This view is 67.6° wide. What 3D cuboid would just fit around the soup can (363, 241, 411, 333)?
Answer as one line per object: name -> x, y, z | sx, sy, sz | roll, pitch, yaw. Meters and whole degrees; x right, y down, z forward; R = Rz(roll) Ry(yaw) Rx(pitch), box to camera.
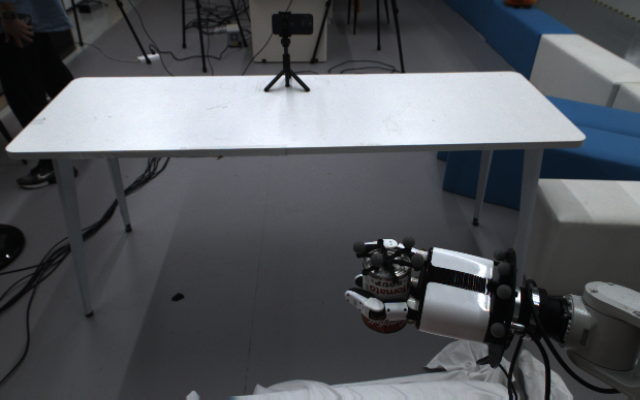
soup can -> 0.094, 0.126, 0.678 | 0.067, 0.101, 0.067 | -2, 32, 1
